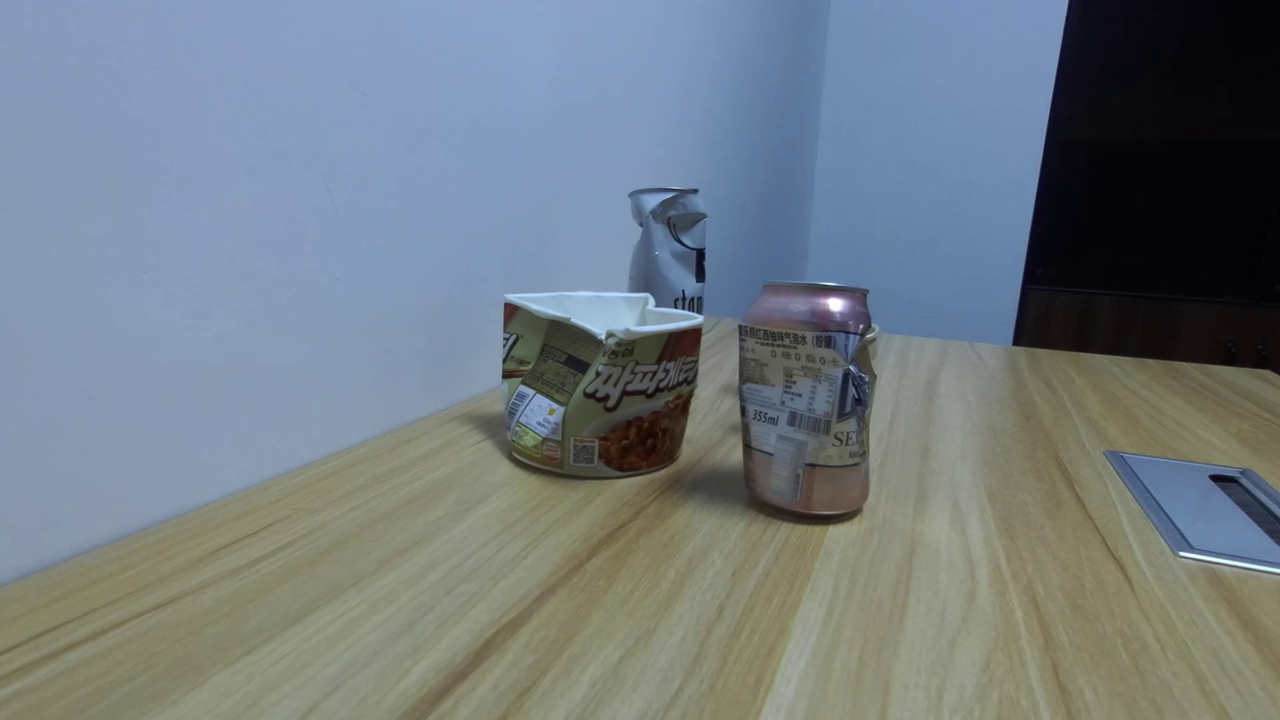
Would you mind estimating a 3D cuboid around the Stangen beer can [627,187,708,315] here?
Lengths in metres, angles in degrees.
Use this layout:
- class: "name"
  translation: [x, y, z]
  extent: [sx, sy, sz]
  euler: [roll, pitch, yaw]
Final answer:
- class: "Stangen beer can"
  translation: [0.018, -0.051, 0.563]
  extent: [0.066, 0.165, 0.065]
  euler: [-3, 9, -30]

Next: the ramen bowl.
- class: "ramen bowl"
  translation: [-0.024, 0.012, 0.437]
  extent: [0.112, 0.093, 0.128]
  euler: [-2, 15, -19]

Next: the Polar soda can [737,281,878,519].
- class: "Polar soda can"
  translation: [0.091, 0.018, 0.379]
  extent: [0.066, 0.121, 0.071]
  euler: [5, 11, 34]
